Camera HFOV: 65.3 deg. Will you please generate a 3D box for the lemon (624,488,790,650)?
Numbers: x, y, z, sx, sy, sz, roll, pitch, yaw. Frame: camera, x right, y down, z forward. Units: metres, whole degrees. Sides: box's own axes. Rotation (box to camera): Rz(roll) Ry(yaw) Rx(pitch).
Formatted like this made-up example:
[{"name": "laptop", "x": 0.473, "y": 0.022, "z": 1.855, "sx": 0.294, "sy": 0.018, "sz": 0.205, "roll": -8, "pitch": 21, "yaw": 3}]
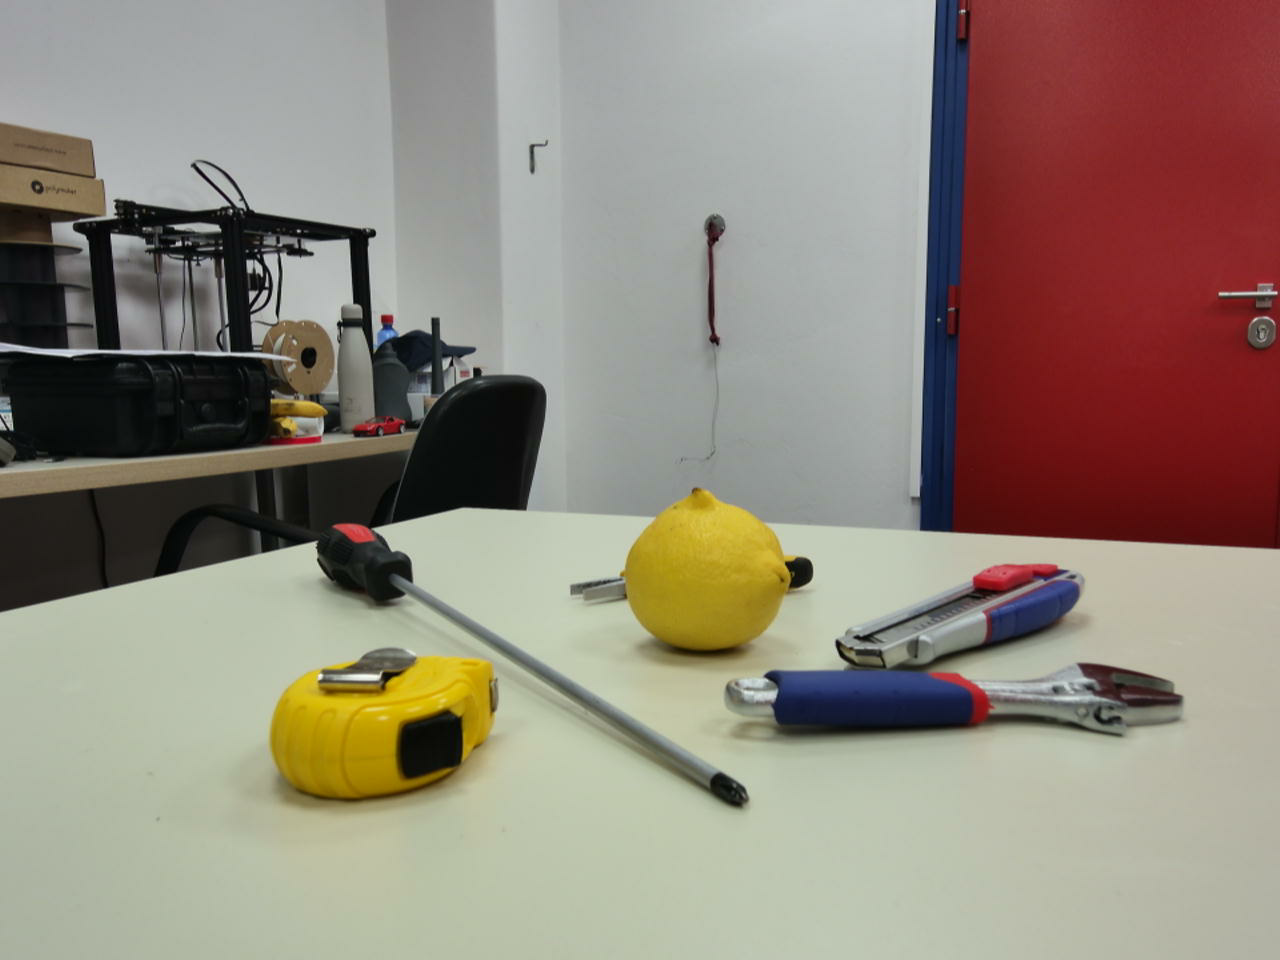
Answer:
[{"name": "lemon", "x": 0.029, "y": 0.039, "z": 0.446, "sx": 0.070, "sy": 0.071, "sz": 0.071, "roll": -1, "pitch": 4, "yaw": -9}]
